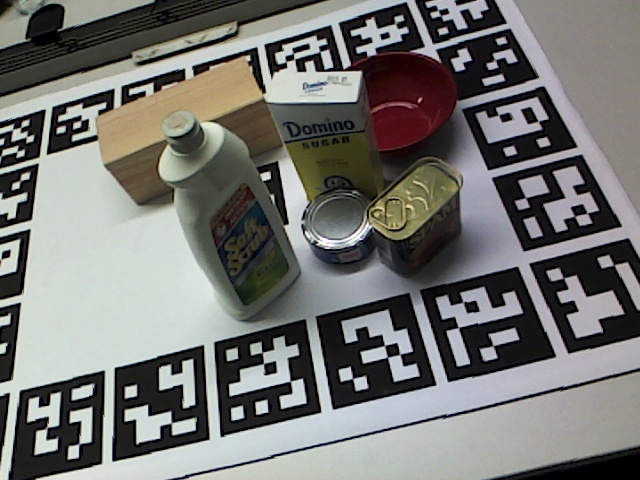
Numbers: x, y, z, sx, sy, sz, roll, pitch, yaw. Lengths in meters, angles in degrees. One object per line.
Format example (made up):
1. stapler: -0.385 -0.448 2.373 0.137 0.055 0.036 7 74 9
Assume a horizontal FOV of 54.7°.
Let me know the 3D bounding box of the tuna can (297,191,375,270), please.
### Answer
1. tuna can: 0.020 -0.011 0.688 0.086 0.033 0.086 -7 59 11

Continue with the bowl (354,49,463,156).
1. bowl: 0.095 -0.156 0.754 0.162 0.055 0.162 -10 56 14

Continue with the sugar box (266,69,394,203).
1. sugar box: 0.017 -0.104 0.664 0.093 0.175 0.045 2 60 21

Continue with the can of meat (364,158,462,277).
1. can of meat: 0.102 -0.021 0.650 0.101 0.083 0.058 -39 53 -13

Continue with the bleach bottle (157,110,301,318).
1. bleach bottle: -0.096 -0.022 0.600 0.102 0.249 0.068 -36 55 -9

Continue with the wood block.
1. wood block: -0.165 -0.137 0.796 0.206 0.089 0.091 -22 59 0
